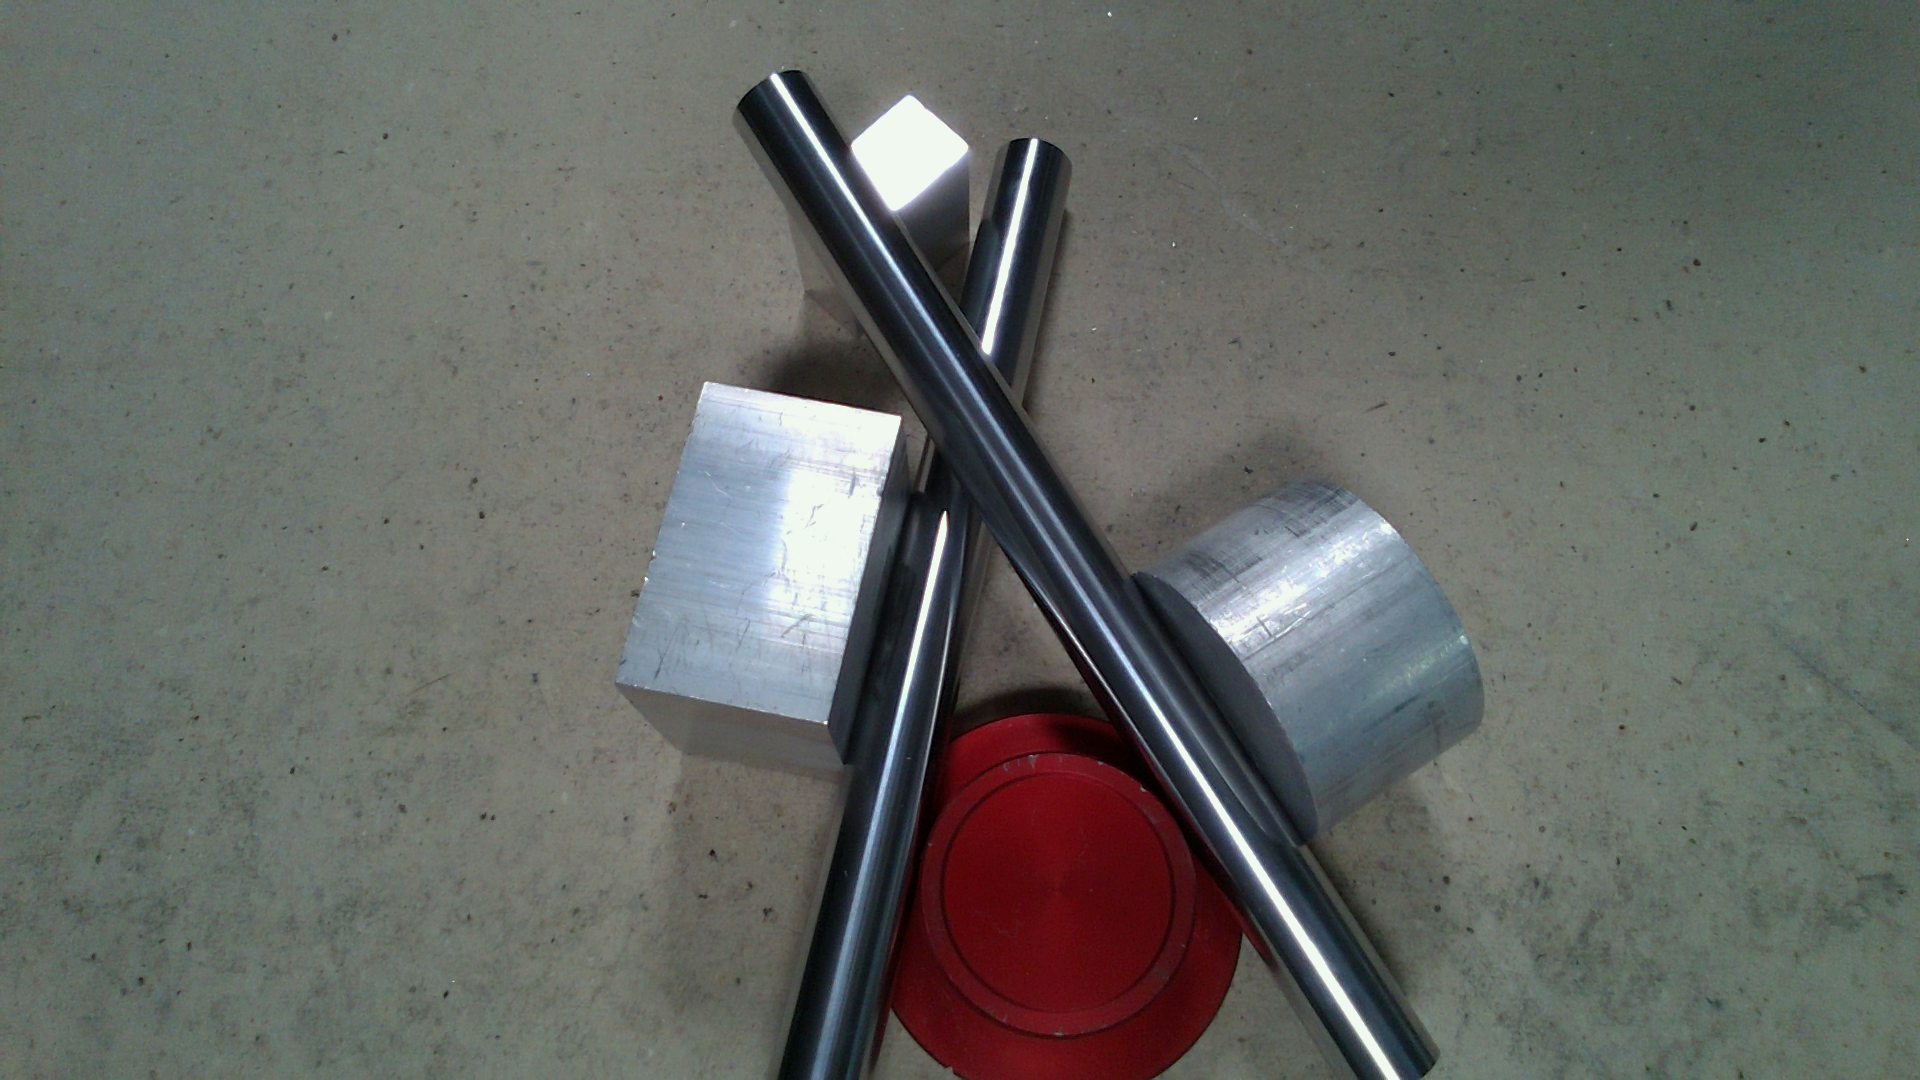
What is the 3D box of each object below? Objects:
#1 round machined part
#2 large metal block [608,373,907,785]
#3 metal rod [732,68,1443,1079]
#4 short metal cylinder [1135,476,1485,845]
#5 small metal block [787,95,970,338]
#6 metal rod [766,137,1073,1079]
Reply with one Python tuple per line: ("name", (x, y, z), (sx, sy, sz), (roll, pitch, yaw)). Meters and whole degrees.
("round machined part", (0.024, 0.093, 0.353), (0.098, 0.042, 0.098), (0, 70, 0))
("large metal block", (-0.047, 0.014, 0.360), (0.050, 0.080, 0.080), (11, 70, 4))
("metal rod", (0.028, 0.004, 0.357), (0.025, 0.025, 0.300), (-31, 82, -10))
("short metal cylinder", (0.087, 0.031, 0.355), (0.050, 0.080, 0.080), (-31, 73, -10))
("small metal block", (-0.024, -0.097, 0.416), (0.025, 0.050, 0.050), (43, 76, 14))
("metal rod", (-0.006, 0.012, 0.374), (0.025, 0.025, 0.300), (11, 64, 4))
